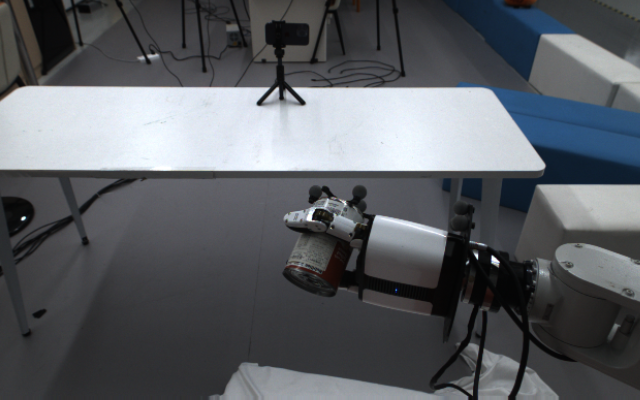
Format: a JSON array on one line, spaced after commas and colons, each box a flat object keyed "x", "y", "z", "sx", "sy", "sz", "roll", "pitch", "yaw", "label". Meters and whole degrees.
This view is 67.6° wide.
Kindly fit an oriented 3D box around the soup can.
[{"x": 0.008, "y": 0.055, "z": 0.580, "sx": 0.067, "sy": 0.067, "sz": 0.101, "roll": 15, "pitch": 63, "yaw": 18, "label": "soup can"}]
